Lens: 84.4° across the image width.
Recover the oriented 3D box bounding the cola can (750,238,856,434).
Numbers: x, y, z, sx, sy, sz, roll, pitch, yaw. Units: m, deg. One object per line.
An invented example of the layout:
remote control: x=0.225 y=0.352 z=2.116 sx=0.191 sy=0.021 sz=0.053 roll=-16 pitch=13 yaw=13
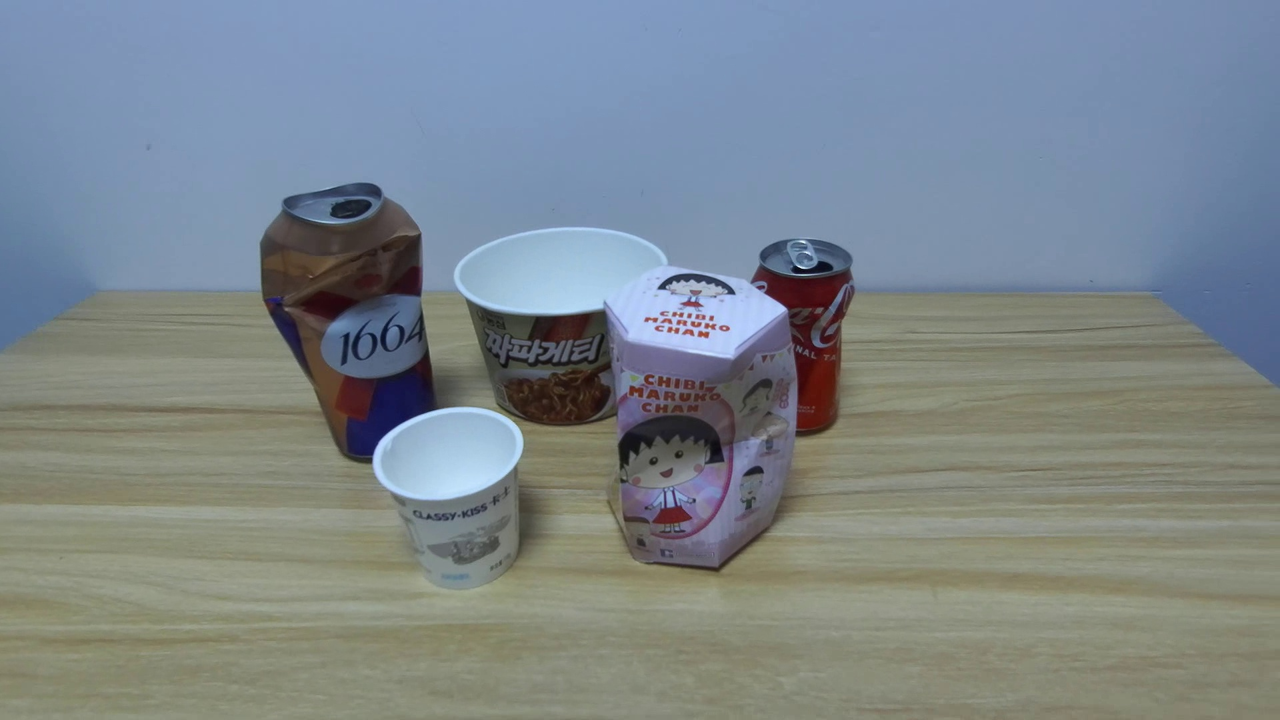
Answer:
cola can: x=0.099 y=-0.016 z=0.451 sx=0.066 sy=0.117 sz=0.066 roll=17 pitch=36 yaw=25

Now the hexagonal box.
hexagonal box: x=0.022 y=0.031 z=0.360 sx=0.089 sy=0.135 sz=0.093 roll=-13 pitch=33 yaw=-20

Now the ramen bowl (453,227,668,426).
ramen bowl: x=-0.051 y=-0.023 z=0.491 sx=0.140 sy=0.095 sz=0.140 roll=0 pitch=30 yaw=0

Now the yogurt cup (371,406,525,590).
yogurt cup: x=-0.090 y=0.072 z=0.356 sx=0.072 sy=0.068 sz=0.072 roll=-1 pitch=31 yaw=1

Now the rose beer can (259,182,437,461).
rose beer can: x=-0.165 y=-0.019 z=0.421 sx=0.068 sy=0.162 sz=0.073 roll=5 pitch=34 yaw=9
